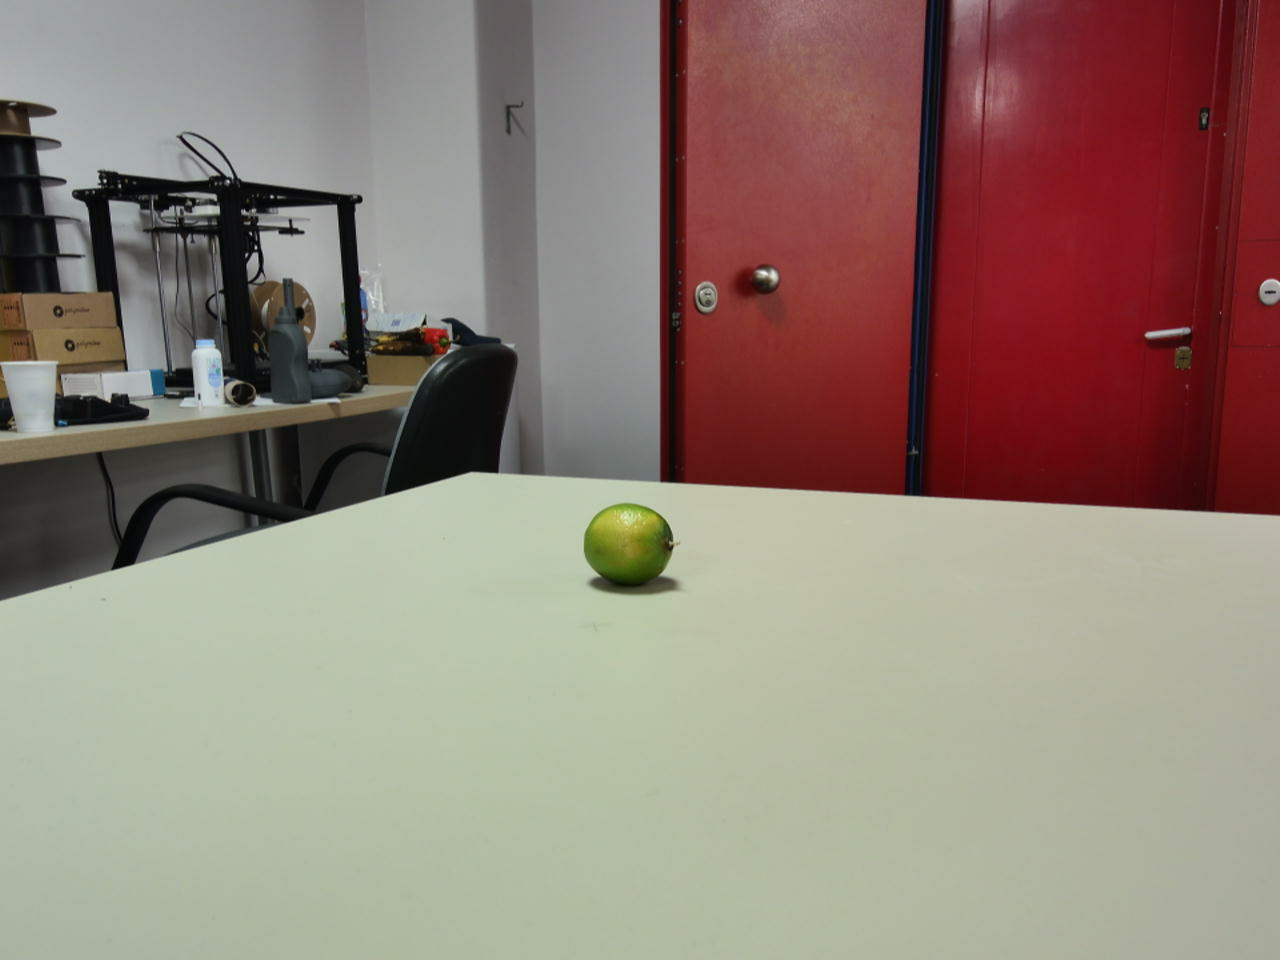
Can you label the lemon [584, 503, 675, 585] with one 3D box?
[{"bbox_3d":[-0.007,0.040,0.628,0.054,0.050,0.055,-3,8,-17],"label":"lemon"}]
